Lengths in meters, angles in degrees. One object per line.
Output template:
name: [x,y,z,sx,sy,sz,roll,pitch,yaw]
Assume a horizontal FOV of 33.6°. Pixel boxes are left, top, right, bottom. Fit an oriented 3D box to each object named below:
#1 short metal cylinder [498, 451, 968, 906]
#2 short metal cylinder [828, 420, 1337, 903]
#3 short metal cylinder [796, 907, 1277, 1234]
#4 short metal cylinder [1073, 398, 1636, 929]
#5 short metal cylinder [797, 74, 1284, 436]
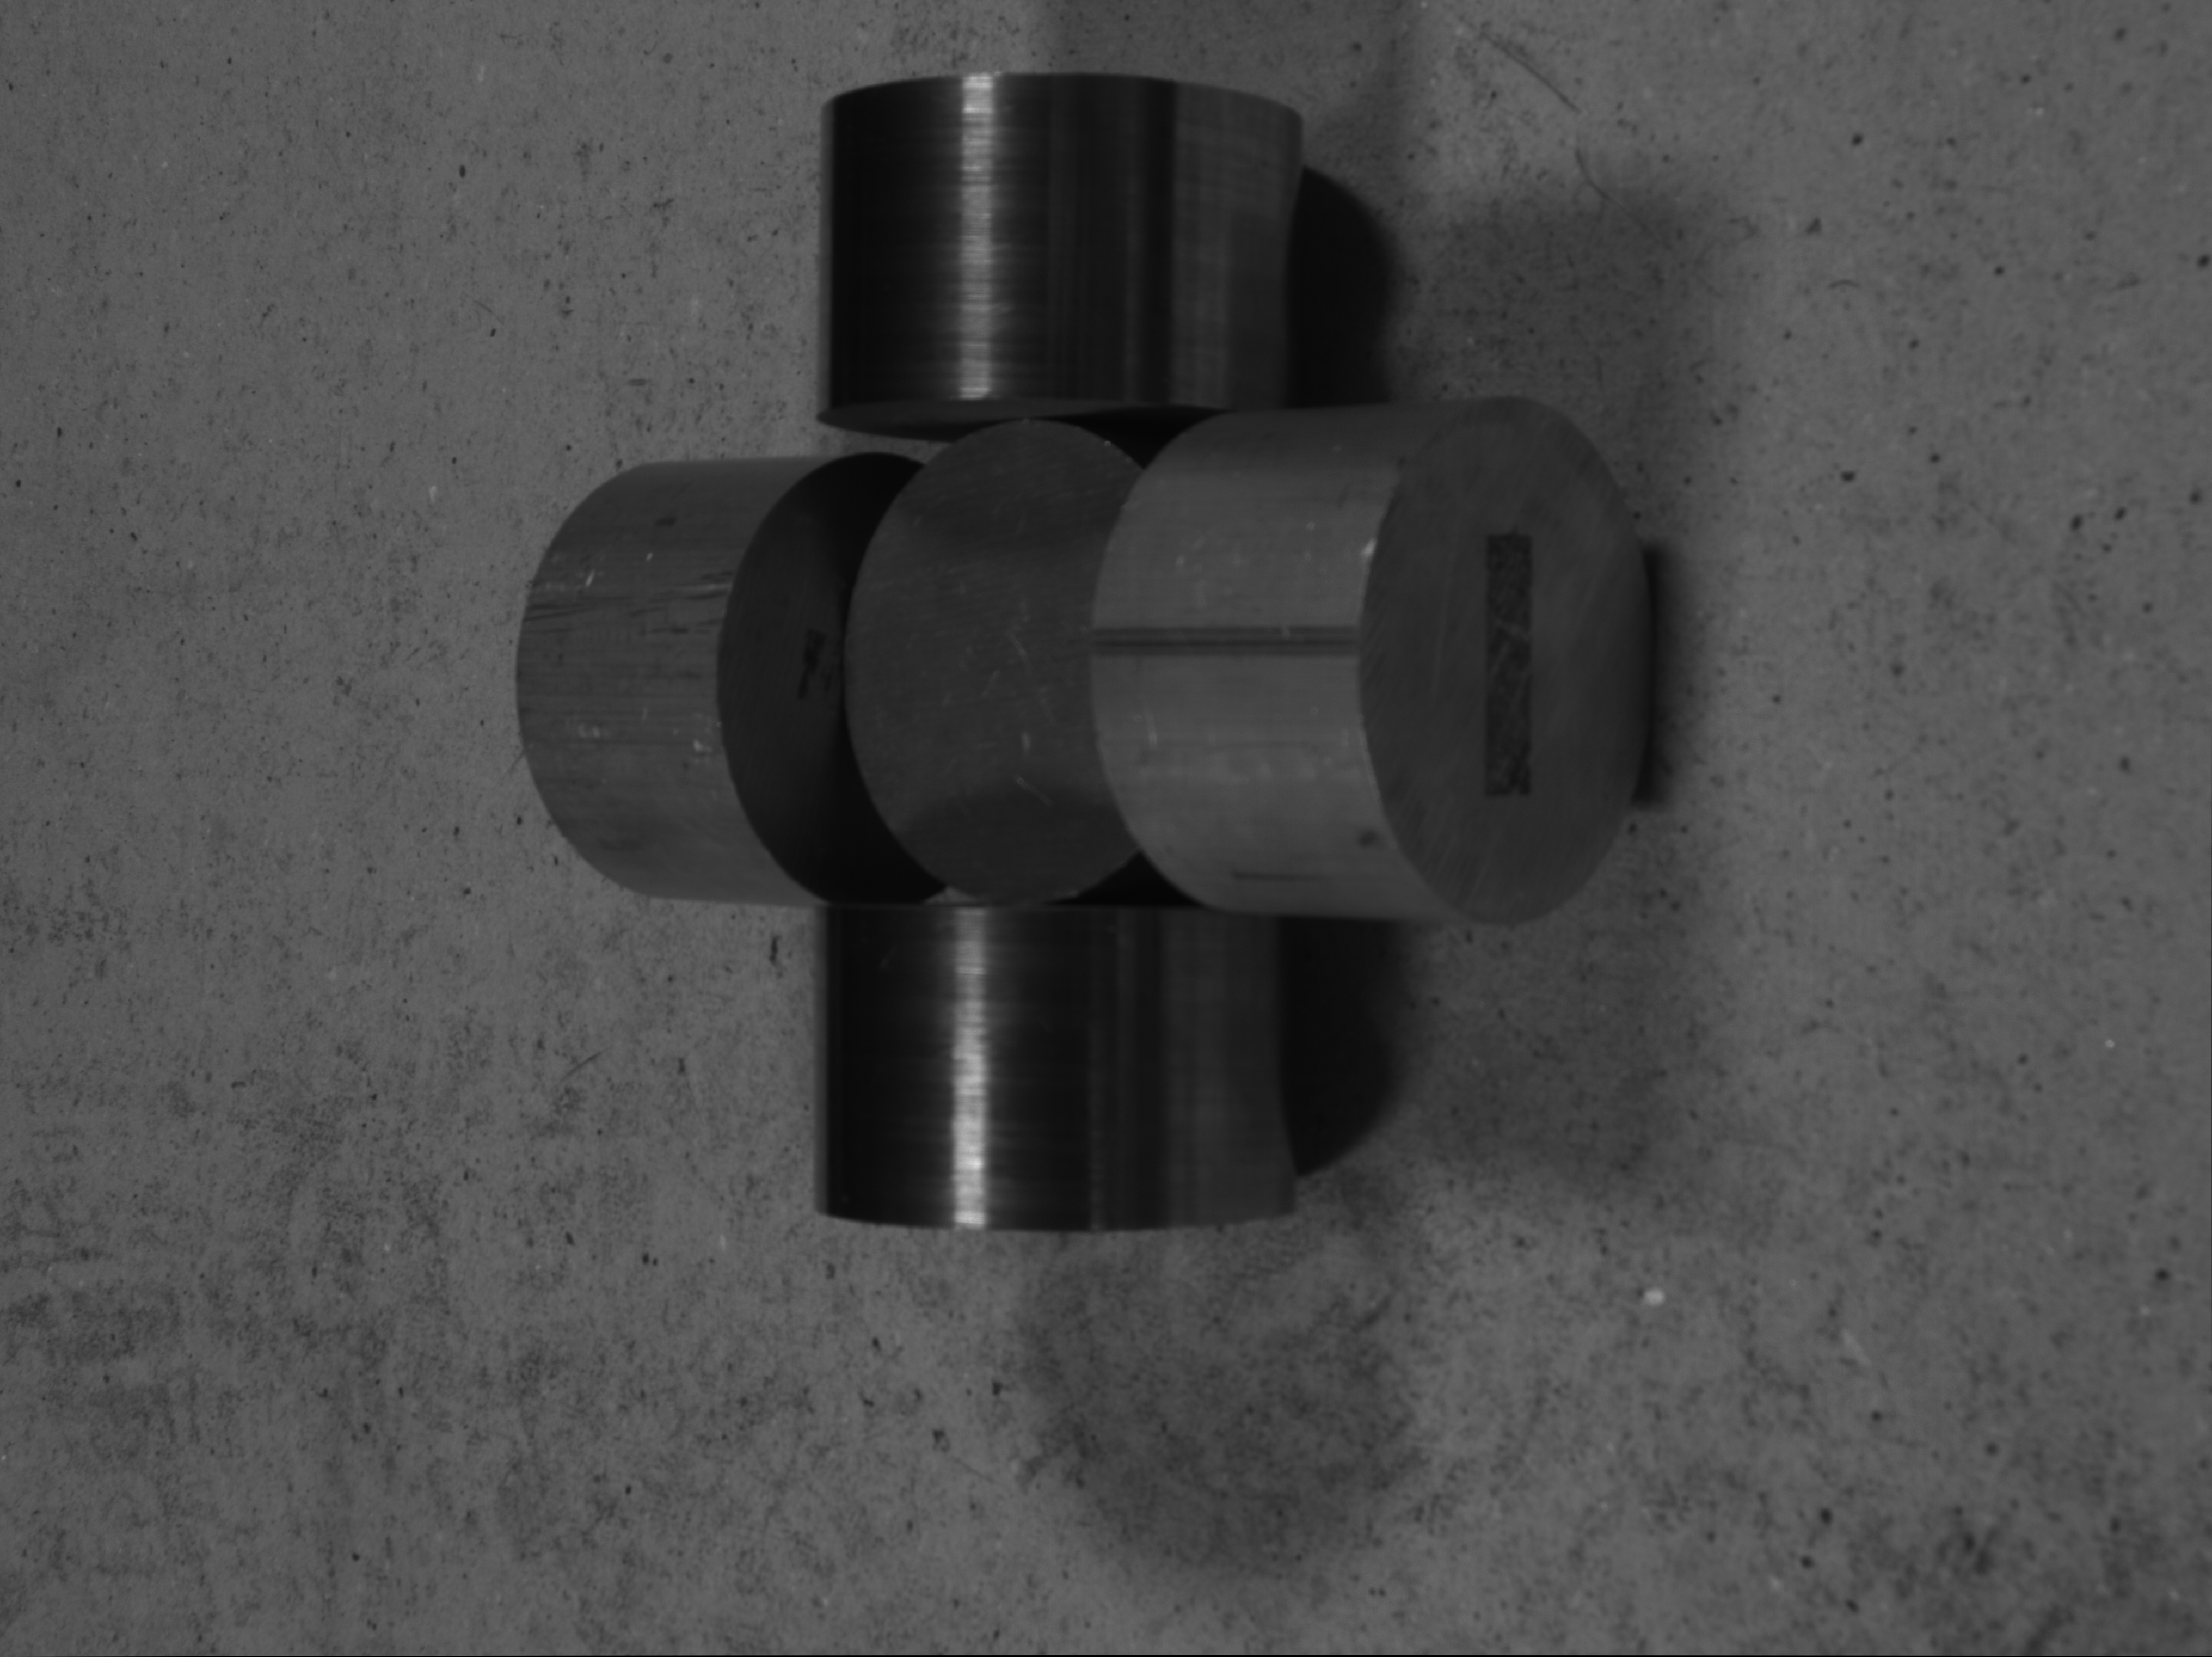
short metal cylinder: [-0.061,-0.026,0.651,0.050,0.080,0.080,2,91,40]
short metal cylinder: [-0.001,-0.027,0.622,0.080,0.050,0.080,0,90,39]
short metal cylinder: [-0.011,0.038,0.610,0.080,0.080,0.050,0,89,39]
short metal cylinder: [0.040,-0.026,0.569,0.050,0.080,0.080,2,91,40]
short metal cylinder: [-0.011,-0.093,0.609,0.080,0.080,0.050,2,91,39]
